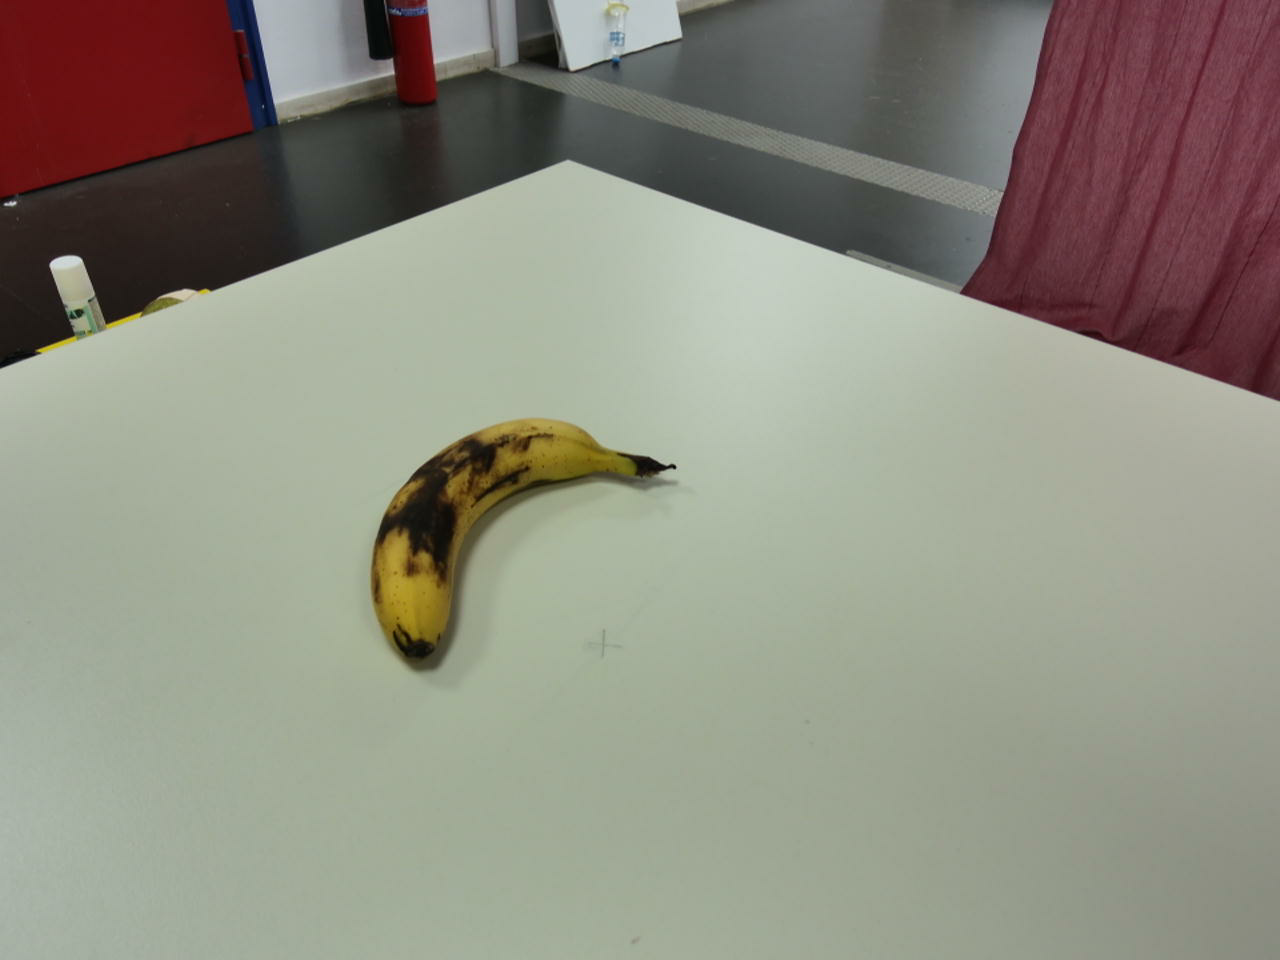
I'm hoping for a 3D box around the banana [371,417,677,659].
[{"bbox_3d":[-0.076,0.013,0.513,0.094,0.039,0.187,26,43,29],"label":"banana"}]
